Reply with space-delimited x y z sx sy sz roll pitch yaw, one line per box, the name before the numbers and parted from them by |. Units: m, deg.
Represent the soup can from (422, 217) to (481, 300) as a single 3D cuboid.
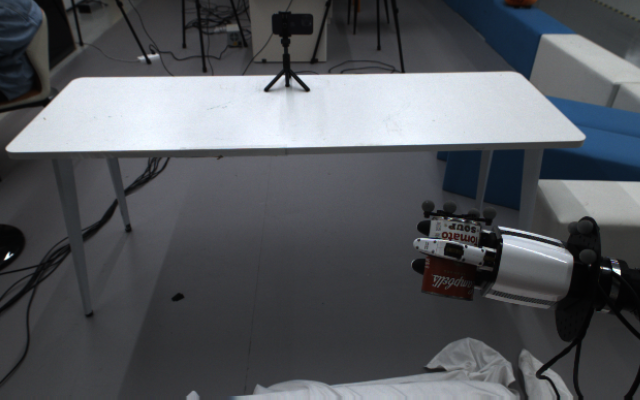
soup can | 0.176 0.077 0.642 0.067 0.101 0.067 9 -6 1
